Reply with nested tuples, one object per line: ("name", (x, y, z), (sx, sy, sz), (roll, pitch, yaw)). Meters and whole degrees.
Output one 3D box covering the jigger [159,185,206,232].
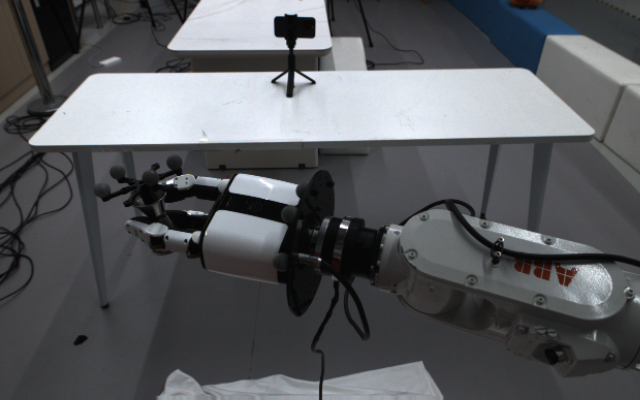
("jigger", (-0.187, 0.025, 0.566), (0.043, 0.071, 0.043), (-10, 32, 6))
